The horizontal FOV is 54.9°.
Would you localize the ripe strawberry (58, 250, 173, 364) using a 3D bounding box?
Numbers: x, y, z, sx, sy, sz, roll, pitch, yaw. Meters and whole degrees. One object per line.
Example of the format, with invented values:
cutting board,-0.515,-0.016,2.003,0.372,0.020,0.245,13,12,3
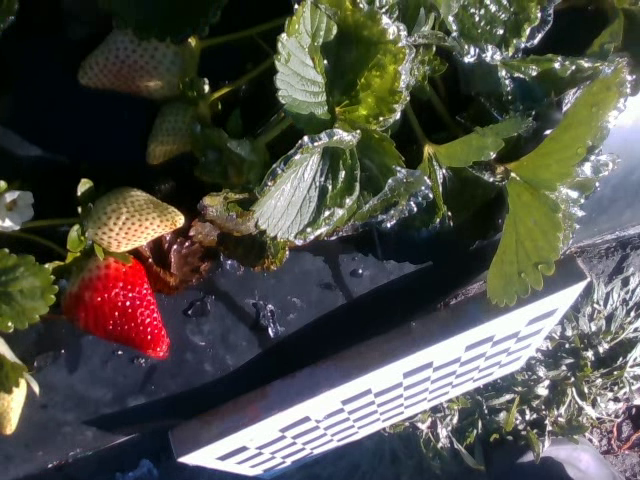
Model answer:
ripe strawberry,-0.082,0.030,0.256,0.040,0.053,0.042,-44,-4,28
